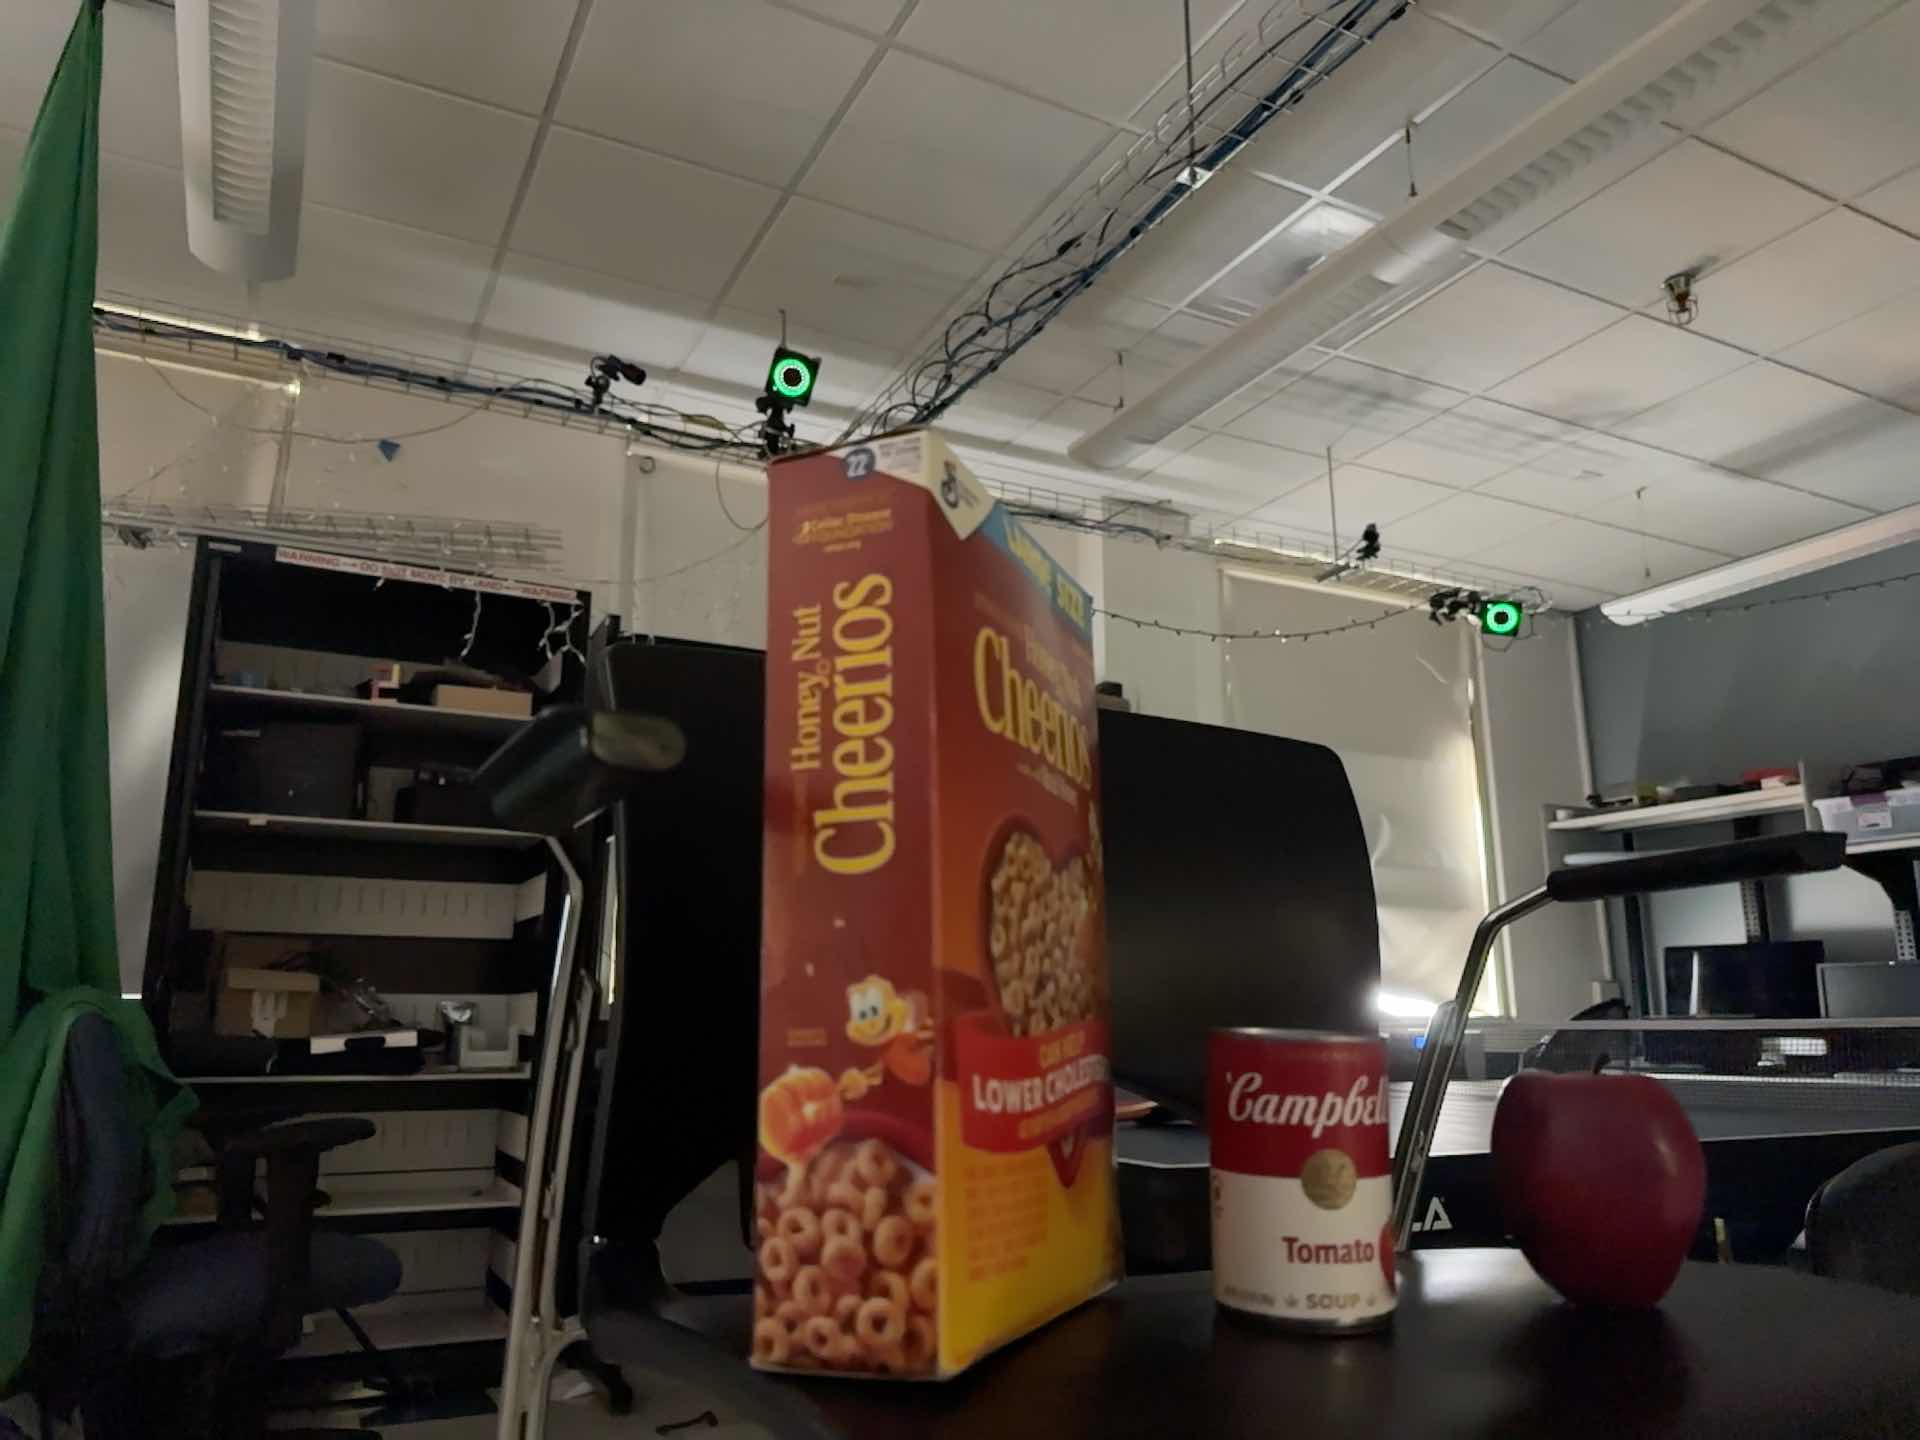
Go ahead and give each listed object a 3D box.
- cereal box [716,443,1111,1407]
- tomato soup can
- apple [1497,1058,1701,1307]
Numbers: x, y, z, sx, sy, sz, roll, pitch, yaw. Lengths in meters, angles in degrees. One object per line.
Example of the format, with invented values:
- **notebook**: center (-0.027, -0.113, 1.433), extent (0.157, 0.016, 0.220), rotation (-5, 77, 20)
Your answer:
- **cereal box**: center (-0.007, 0.073, 0.522), extent (0.065, 0.297, 0.195), rotation (-5, -13, 23)
- **tomato soup can**: center (0.127, 0.173, 0.513), extent (0.067, 0.102, 0.067), rotation (1, -10, 0)
- **apple**: center (0.254, 0.182, 0.539), extent (0.079, 0.093, 0.079), rotation (2, -6, 0)
